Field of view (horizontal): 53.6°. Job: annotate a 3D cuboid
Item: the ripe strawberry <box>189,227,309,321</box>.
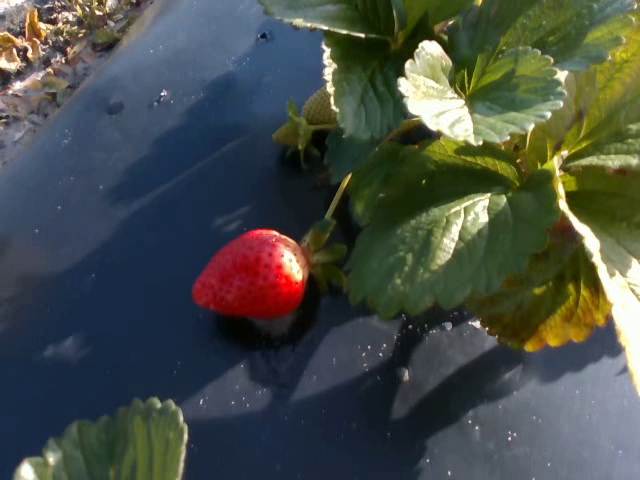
[{"bbox_3d":[-0.024,0.014,0.196,0.044,0.033,0.030,-17,14,-8],"label":"ripe strawberry"}]
